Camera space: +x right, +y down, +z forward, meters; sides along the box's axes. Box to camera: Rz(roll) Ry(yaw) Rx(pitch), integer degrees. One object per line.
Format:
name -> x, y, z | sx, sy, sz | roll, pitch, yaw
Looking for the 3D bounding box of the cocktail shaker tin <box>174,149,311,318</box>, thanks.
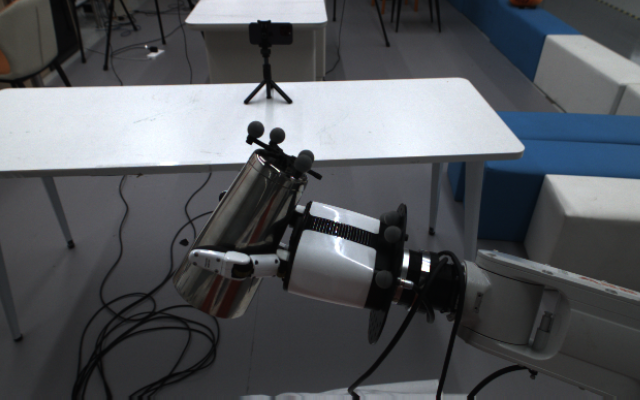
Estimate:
cocktail shaker tin -> -0.080, 0.031, 0.529 | 0.093, 0.170, 0.093 | 28, 14, -7
